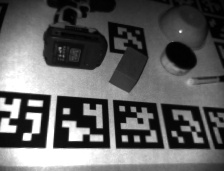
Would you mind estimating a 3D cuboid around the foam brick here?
[{"bbox_3d":[0.035,-0.039,0.477,0.051,0.052,0.078,27,59,-4],"label":"foam brick"}]

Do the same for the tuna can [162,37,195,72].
[{"bbox_3d":[0.171,-0.078,0.548,0.086,0.033,0.085,10,60,-16],"label":"tuna can"}]

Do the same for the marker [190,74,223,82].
[{"bbox_3d":[0.254,-0.021,0.553,0.122,0.019,0.019,-3,65,-21],"label":"marker"}]

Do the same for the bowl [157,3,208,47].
[{"bbox_3d":[0.215,-0.187,0.623,0.162,0.055,0.161,8,54,-11],"label":"bowl"}]

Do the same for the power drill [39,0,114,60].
[{"bbox_3d":[-0.079,-0.151,0.493,0.186,0.057,0.186,6,58,-20],"label":"power drill"}]
